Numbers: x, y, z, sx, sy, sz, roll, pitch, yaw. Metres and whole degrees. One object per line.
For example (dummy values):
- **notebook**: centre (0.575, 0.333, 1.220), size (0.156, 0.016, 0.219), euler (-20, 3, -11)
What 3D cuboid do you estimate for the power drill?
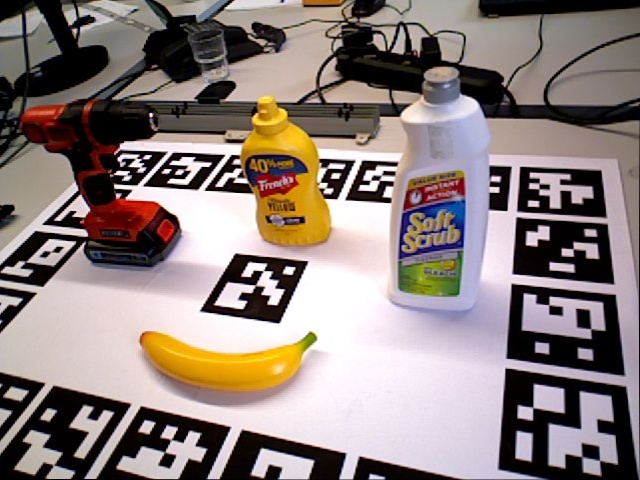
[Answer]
- **power drill**: centre (-0.247, -0.086, 0.650), size (0.185, 0.190, 0.056), euler (-1, 42, 17)

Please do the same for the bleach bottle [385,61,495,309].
- **bleach bottle**: centre (0.108, -0.044, 0.515), size (0.103, 0.255, 0.066), euler (12, 46, 23)

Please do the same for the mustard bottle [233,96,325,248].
- **mustard bottle**: centre (-0.051, -0.078, 0.641), size (0.096, 0.195, 0.057), euler (1, 42, 11)

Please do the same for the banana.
- **banana**: centre (-0.105, 0.111, 0.543), size (0.198, 0.039, 0.072), euler (-1, 44, 17)
